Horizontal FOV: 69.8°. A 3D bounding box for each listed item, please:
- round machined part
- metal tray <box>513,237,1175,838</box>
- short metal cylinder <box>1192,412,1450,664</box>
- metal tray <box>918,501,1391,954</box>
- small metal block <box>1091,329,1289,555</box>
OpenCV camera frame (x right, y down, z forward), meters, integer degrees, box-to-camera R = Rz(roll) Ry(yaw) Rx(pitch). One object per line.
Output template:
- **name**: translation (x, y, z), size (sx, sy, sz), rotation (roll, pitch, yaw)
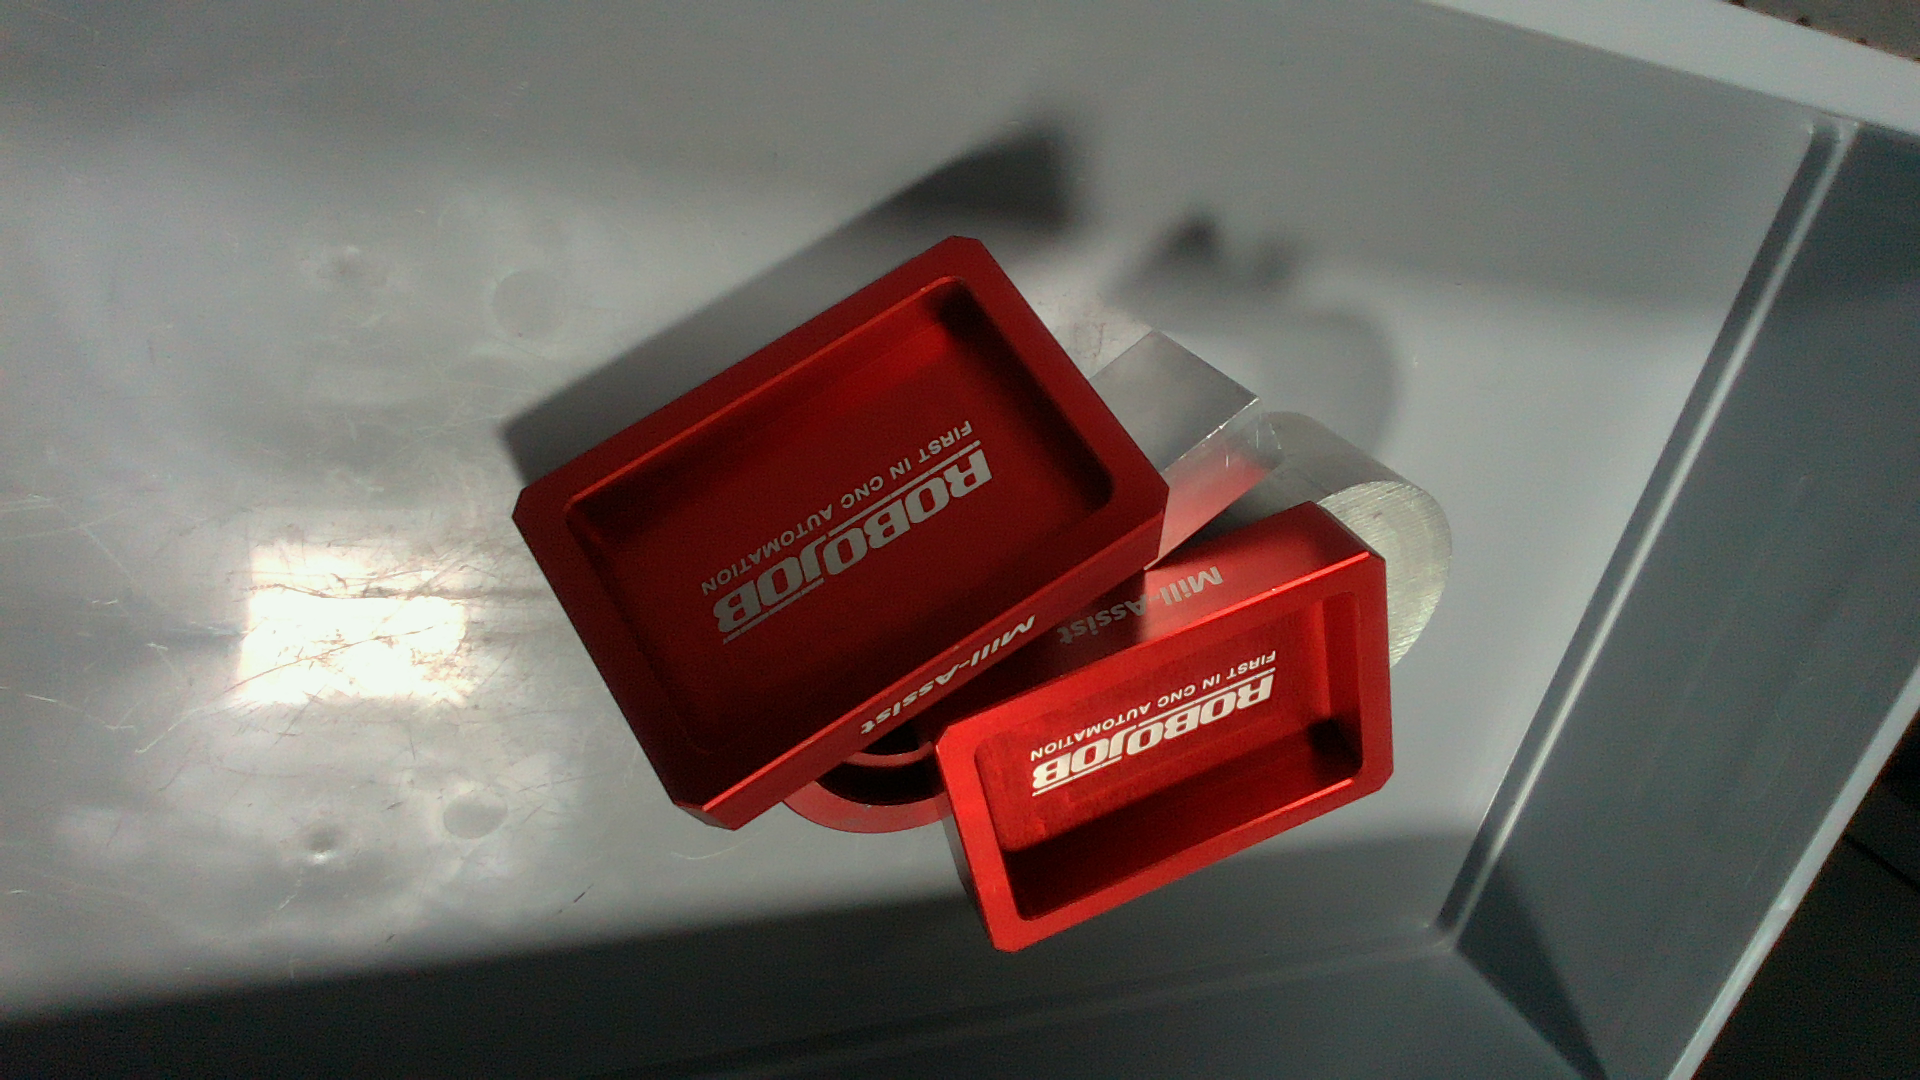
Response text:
- **round machined part**: translation (-0.019, 0.031, 0.387), size (0.098, 0.042, 0.098), rotation (-14, 124, -21)
- **metal tray**: translation (-0.027, -0.003, 0.327), size (0.130, 0.090, 0.030), rotation (-32, 161, -8)
- **short metal cylinder**: translation (0.104, 0.007, 0.431), size (0.080, 0.050, 0.080), rotation (-14, 124, -21)
- **metal tray**: translation (0.056, 0.053, 0.386), size (0.130, 0.030, 0.090), rotation (-21, 126, -10)
- **small metal block**: translation (0.054, -0.026, 0.384), size (0.050, 0.050, 0.025), rotation (-38, 129, -4)
